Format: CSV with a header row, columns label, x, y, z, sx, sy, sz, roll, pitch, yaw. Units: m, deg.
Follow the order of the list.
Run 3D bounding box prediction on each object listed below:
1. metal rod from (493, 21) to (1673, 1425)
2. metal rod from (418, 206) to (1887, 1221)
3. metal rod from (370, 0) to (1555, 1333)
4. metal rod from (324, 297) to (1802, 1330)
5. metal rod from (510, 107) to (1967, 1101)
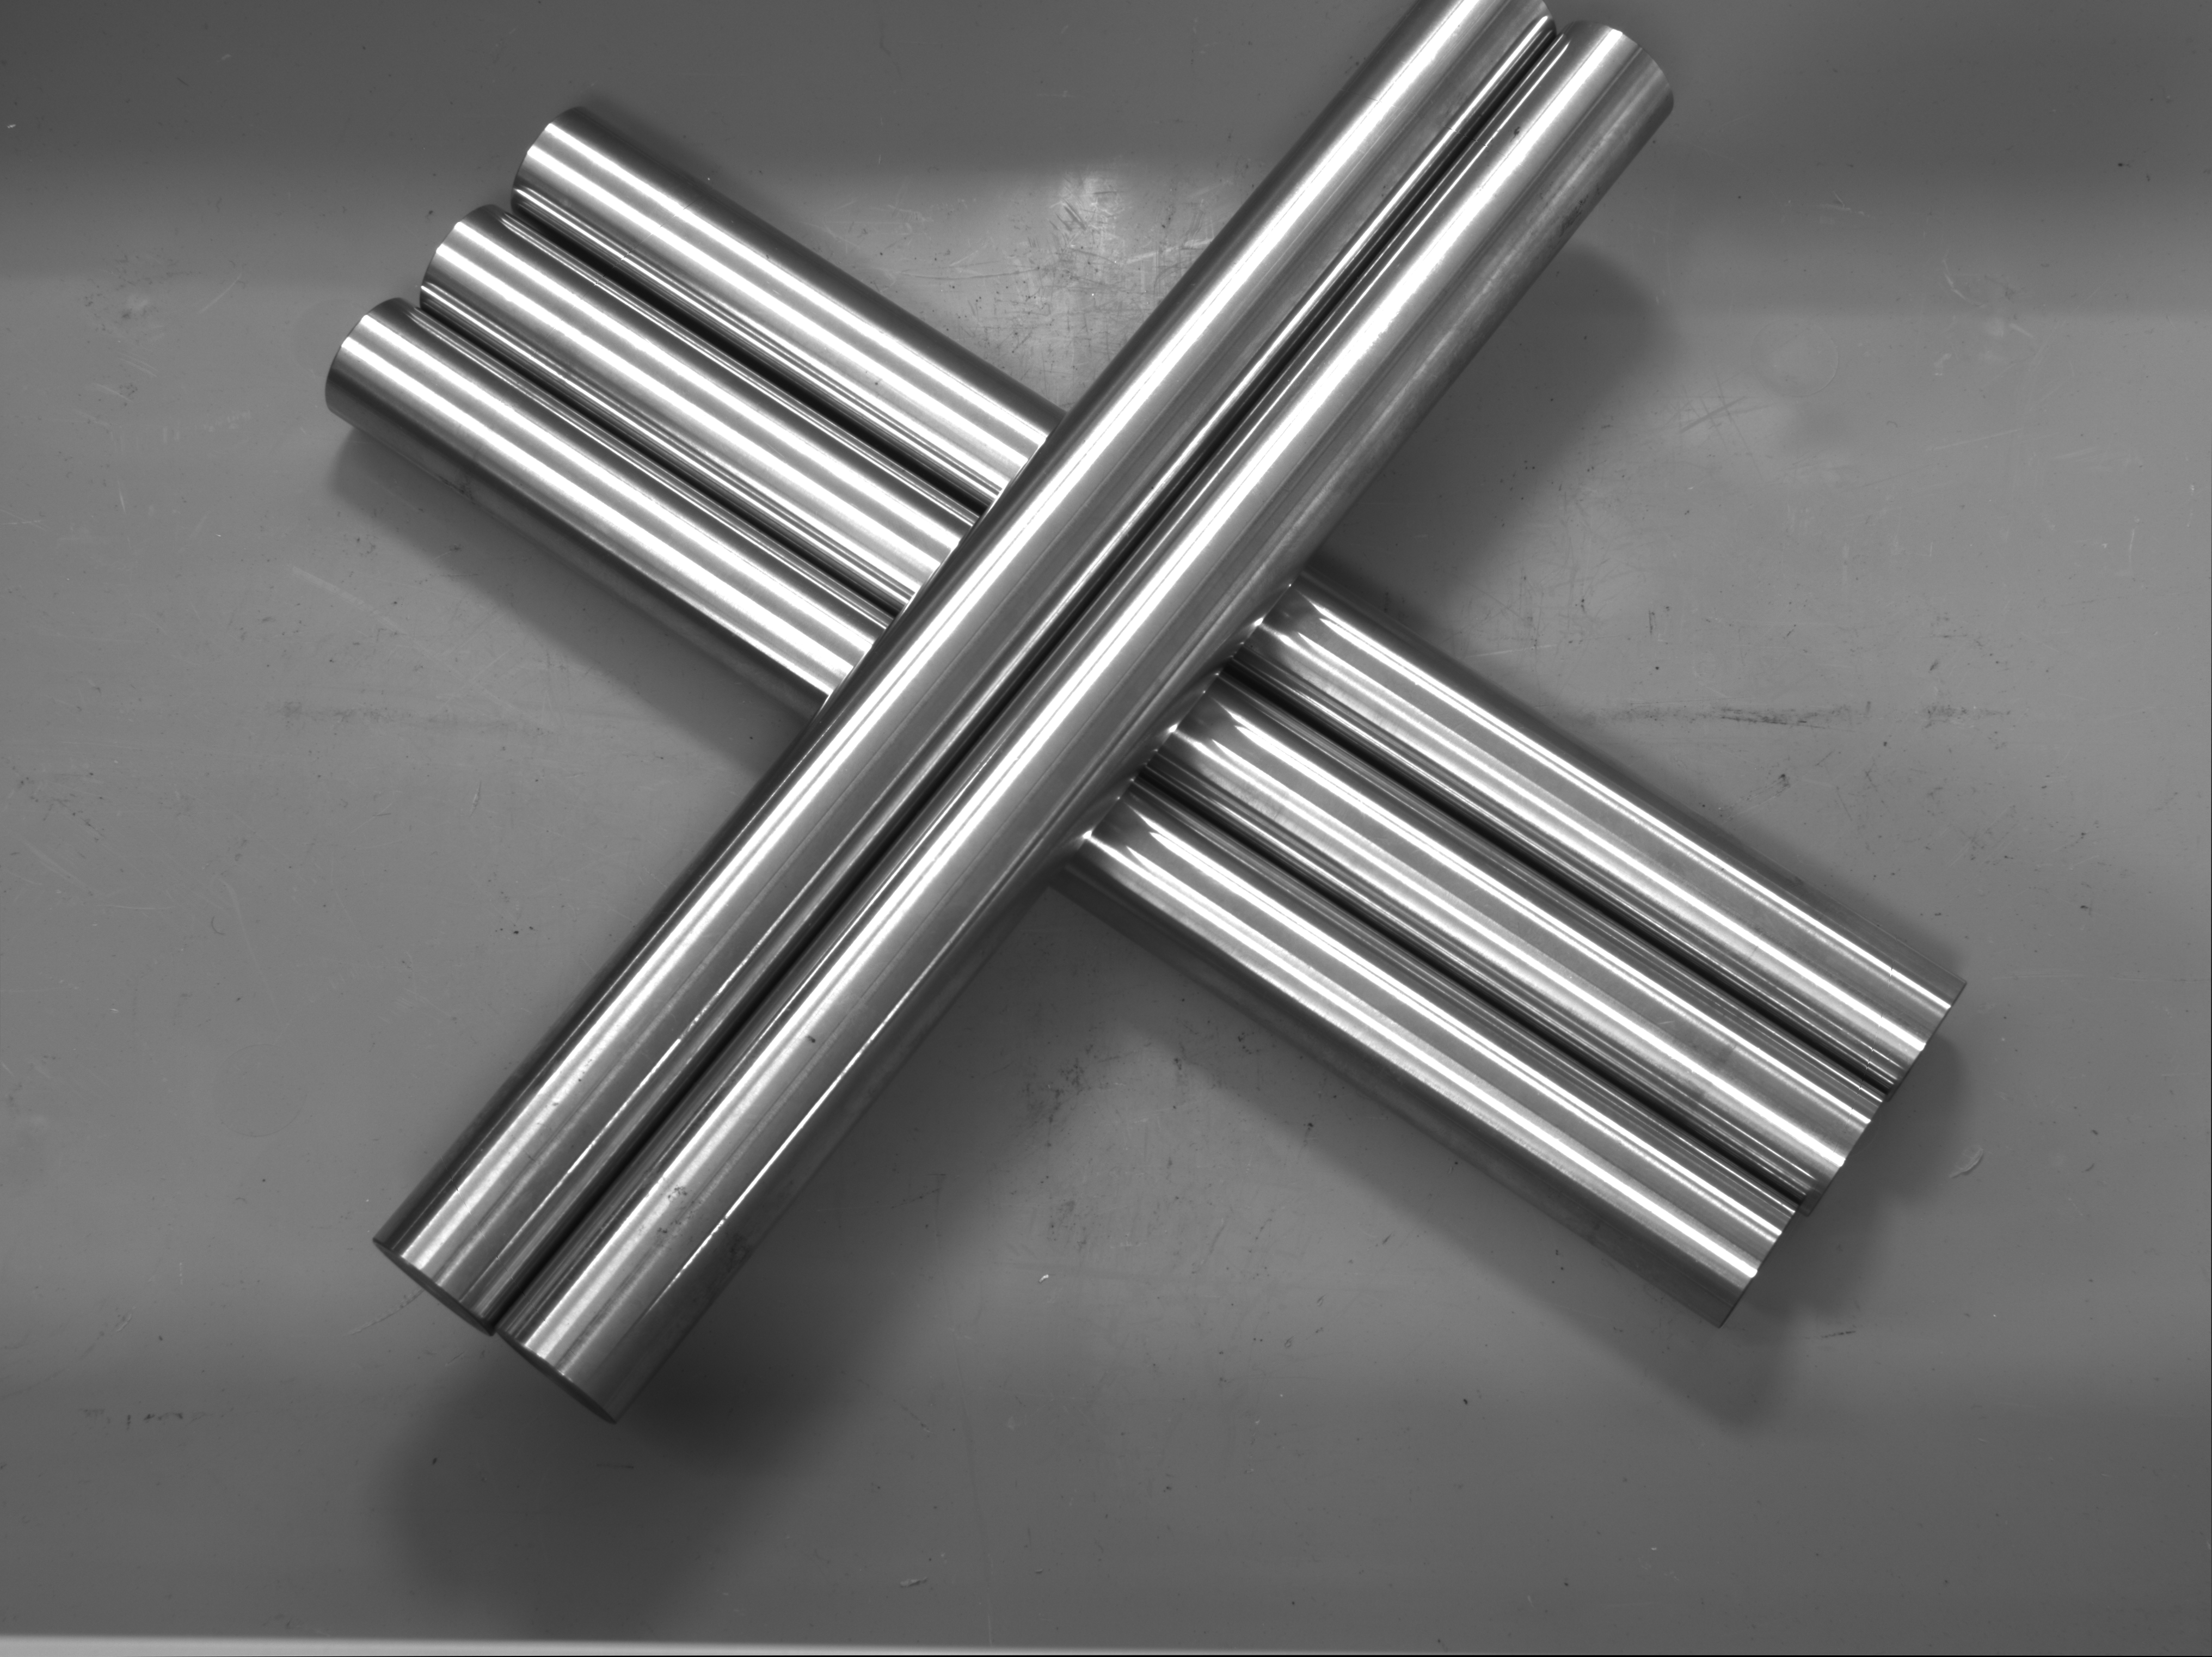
label,x,y,z,sx,sy,sz,roll,pitch,yaw
metal rod,0.002,-0.025,0.626,0.025,0.025,0.300,35,74,12
metal rod,0.003,-0.024,0.652,0.300,0.025,0.025,33,73,11
metal rod,-0.018,-0.039,0.631,0.025,0.025,0.300,35,74,12
metal rod,-0.013,-0.006,0.646,0.300,0.025,0.025,33,73,11
metal rod,0.019,-0.044,0.660,0.300,0.025,0.025,33,73,11
